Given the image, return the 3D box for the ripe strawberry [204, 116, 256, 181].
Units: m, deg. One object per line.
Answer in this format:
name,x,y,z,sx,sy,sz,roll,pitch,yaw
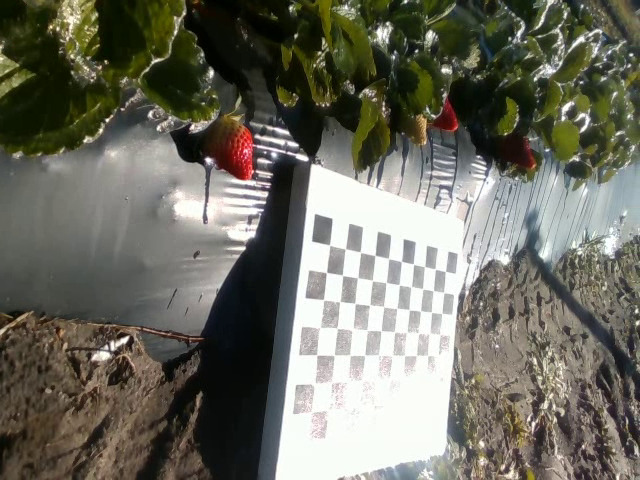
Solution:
ripe strawberry,-0.061,-0.063,0.428,0.041,0.053,0.039,-20,0,43
